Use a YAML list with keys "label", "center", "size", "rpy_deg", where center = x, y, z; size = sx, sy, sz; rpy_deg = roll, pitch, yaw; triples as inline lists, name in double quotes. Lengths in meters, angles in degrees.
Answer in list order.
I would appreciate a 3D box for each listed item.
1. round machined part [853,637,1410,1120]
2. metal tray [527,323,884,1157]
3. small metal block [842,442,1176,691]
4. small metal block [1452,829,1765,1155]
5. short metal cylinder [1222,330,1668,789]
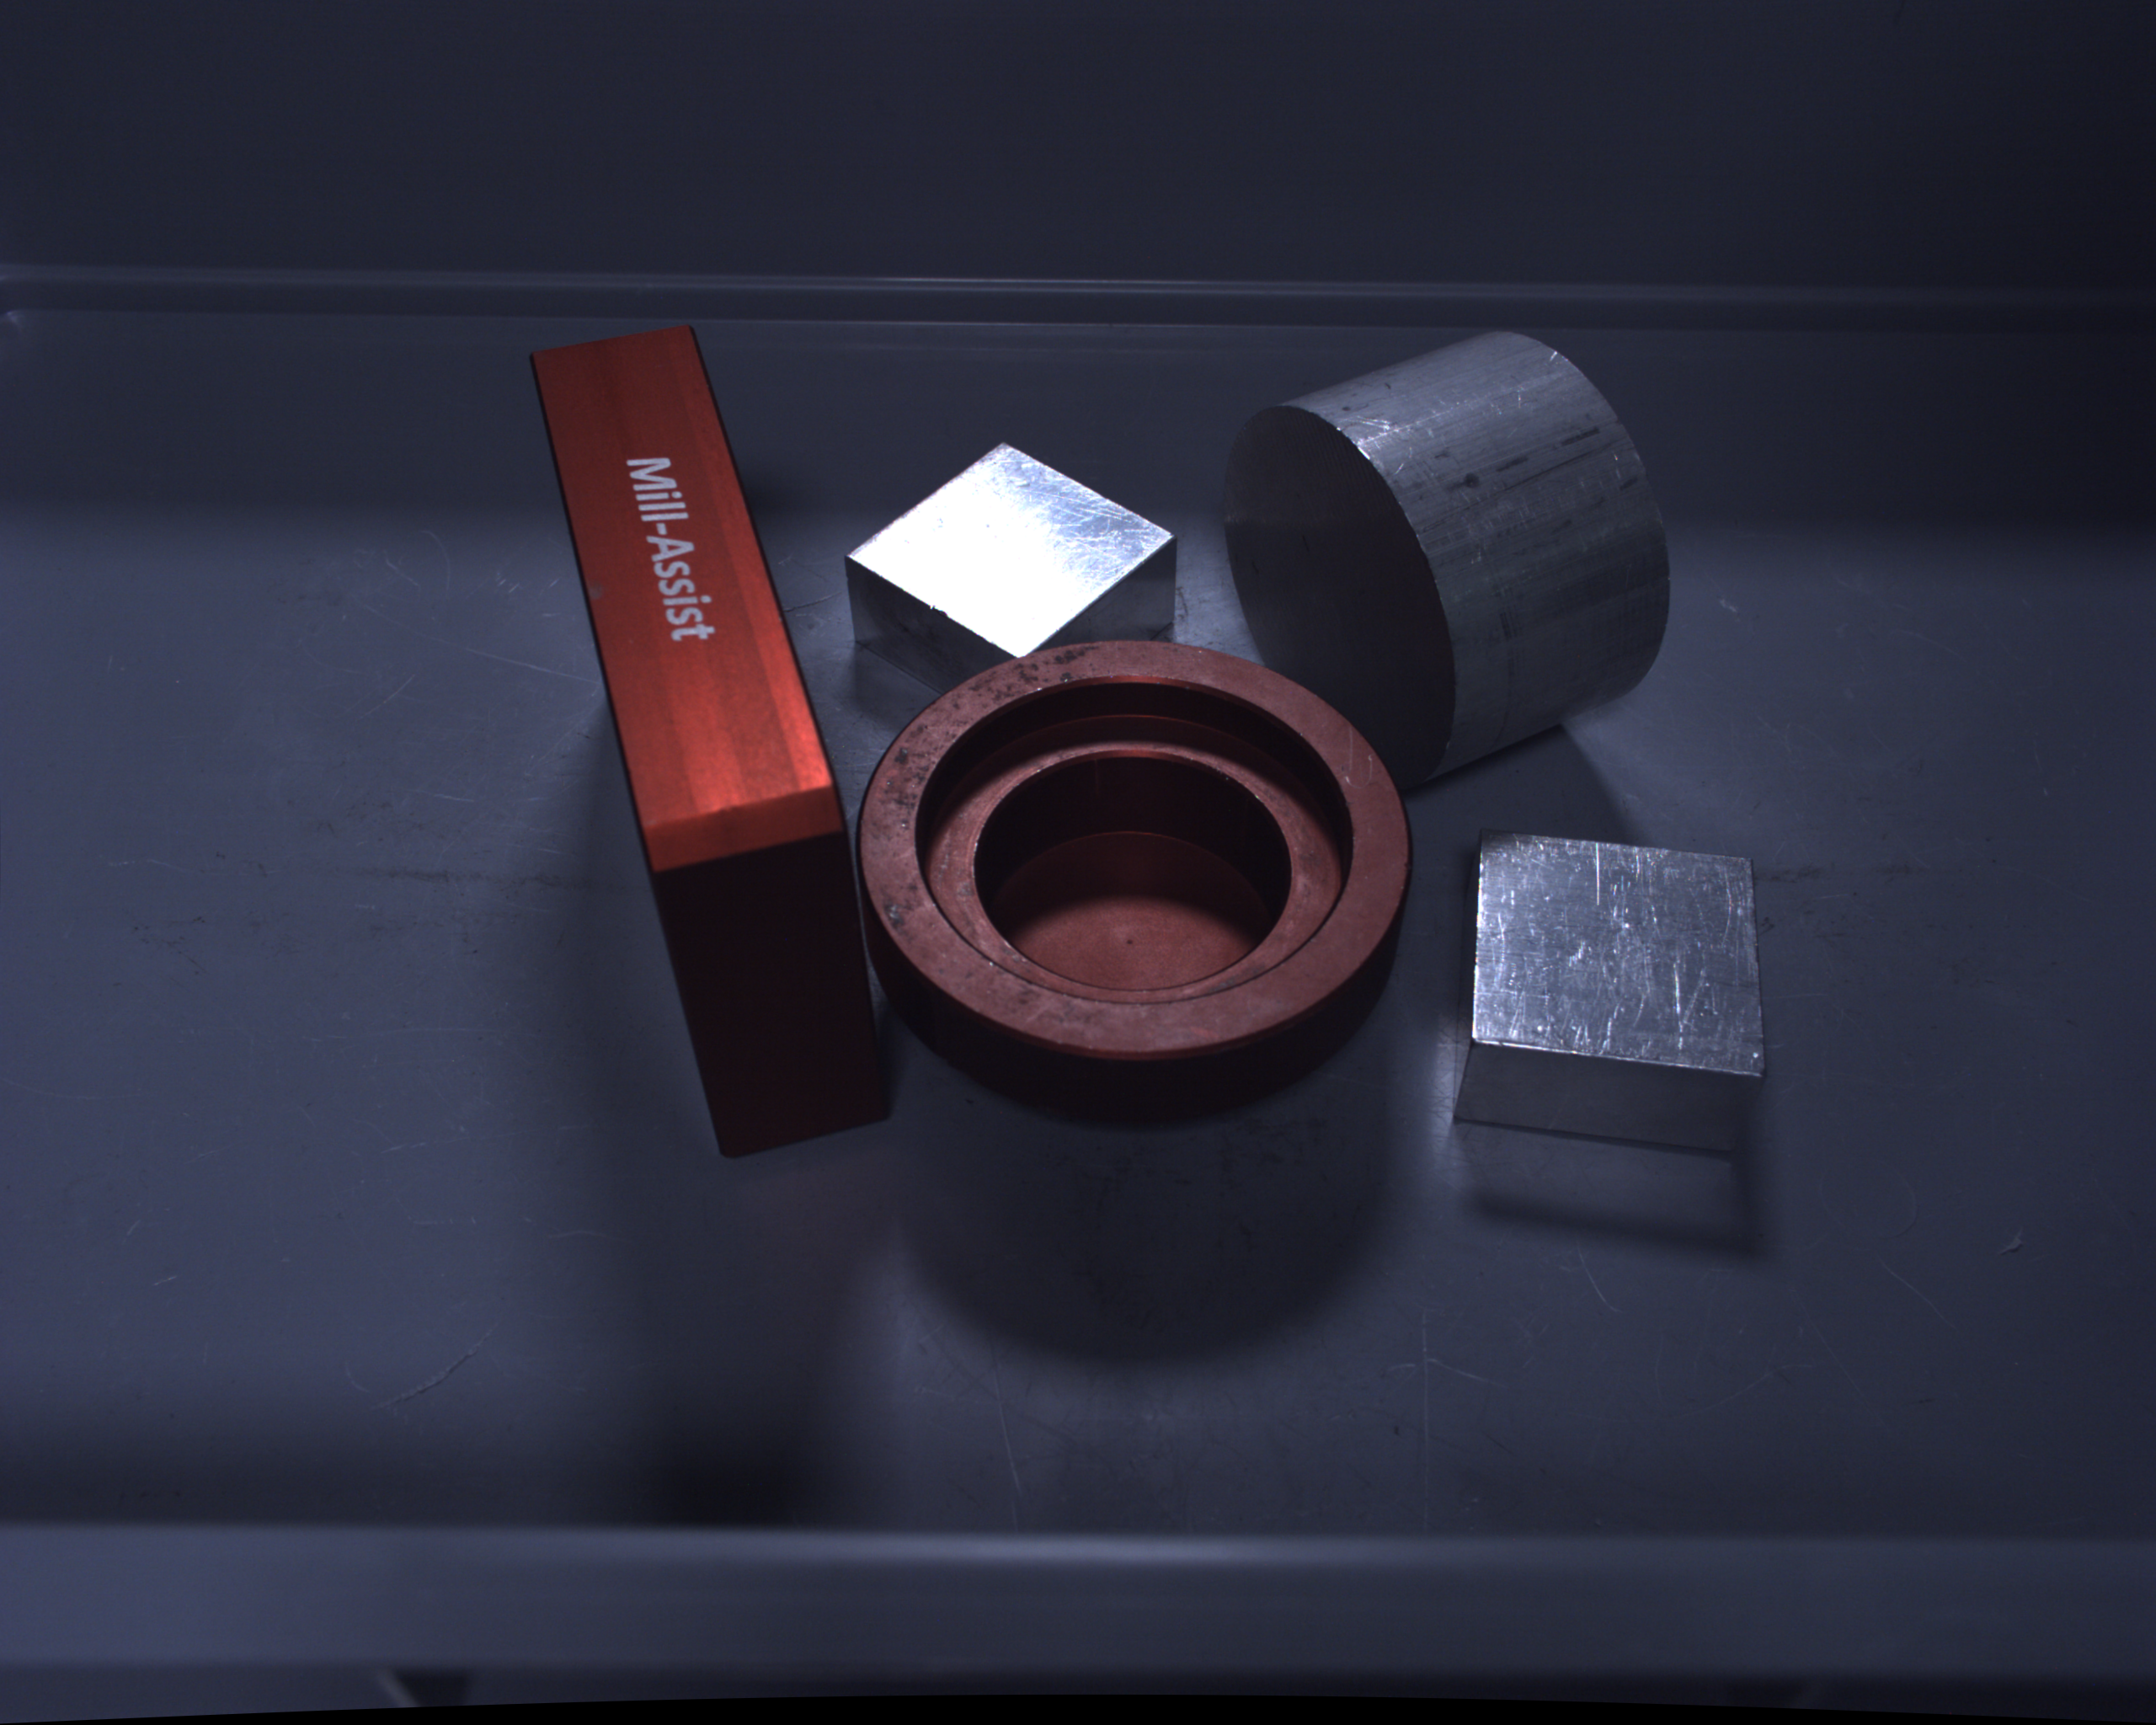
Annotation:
- label: "round machined part"
  center: [0.009, 0.007, 0.385]
  size: [0.099, 0.042, 0.098]
  rpy_deg: [0, 50, 0]
- label: "metal tray"
  center: [-0.068, -0.024, 0.380]
  size: [0.030, 0.089, 0.130]
  rpy_deg: [-13, 51, -11]
- label: "small metal block"
  center: [-0.014, -0.059, 0.452]
  size: [0.050, 0.025, 0.050]
  rpy_deg: [32, 57, 25]
- label: "small metal block"
  center: [0.097, 0.023, 0.385]
  size: [0.050, 0.025, 0.050]
  rpy_deg: [6, 50, 7]
- label: "short metal cylinder"
  center: [0.072, -0.061, 0.419]
  size: [0.050, 0.080, 0.080]
  rpy_deg: [-23, 54, -18]
